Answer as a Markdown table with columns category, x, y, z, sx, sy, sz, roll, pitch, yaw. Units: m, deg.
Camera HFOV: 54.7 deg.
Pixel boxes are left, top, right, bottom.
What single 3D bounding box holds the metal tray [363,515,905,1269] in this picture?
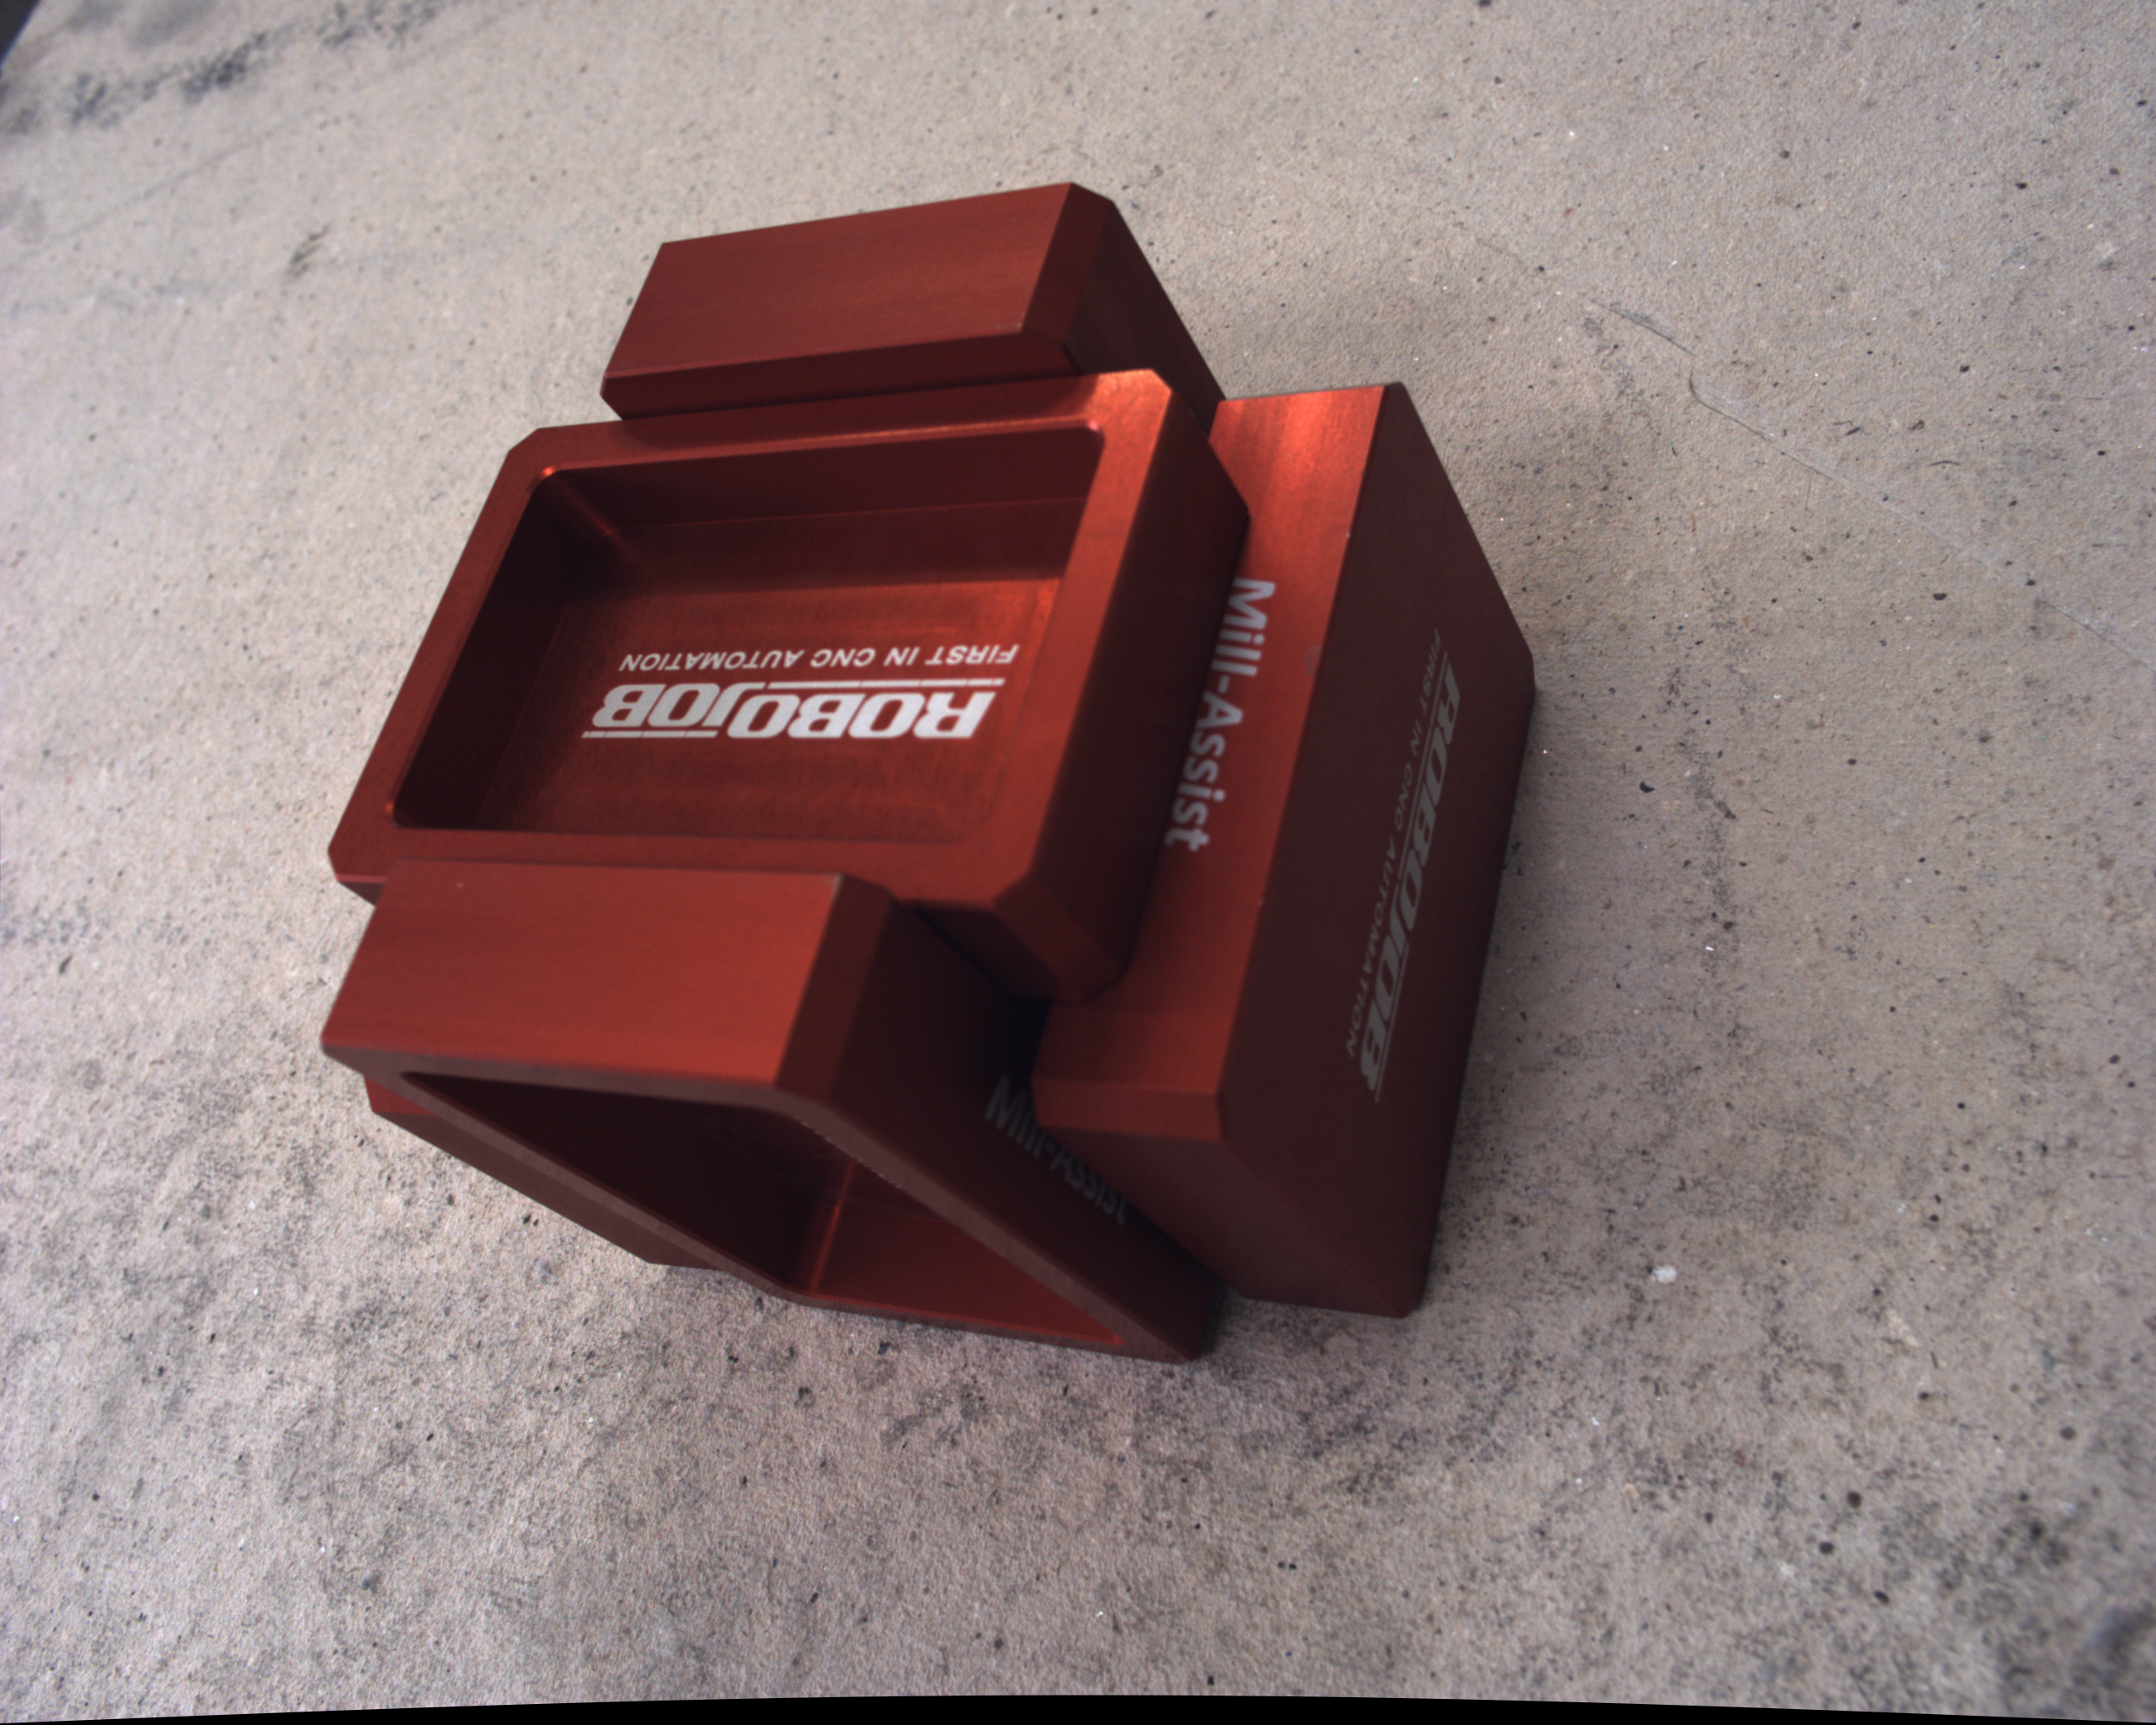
| category | x | y | z | sx | sy | sz | roll | pitch | yaw |
| --- | --- | --- | --- | --- | --- | --- | --- | --- | --- |
| metal tray | -0.075 | 0.003 | 0.401 | 0.030 | 0.090 | 0.130 | 0 | 61 | 28 |

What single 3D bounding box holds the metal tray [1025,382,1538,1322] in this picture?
| category | x | y | z | sx | sy | sz | roll | pitch | yaw |
| --- | --- | --- | --- | --- | --- | --- | --- | --- | --- |
| metal tray | 0.040 | -0.001 | 0.343 | 0.030 | 0.090 | 0.130 | 1 | 61 | 30 |

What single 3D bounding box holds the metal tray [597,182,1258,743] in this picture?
| category | x | y | z | sx | sy | sz | roll | pitch | yaw |
| --- | --- | --- | --- | --- | --- | --- | --- | --- | --- |
| metal tray | -0.013 | -0.062 | 0.382 | 0.090 | 0.130 | 0.030 | 2 | 63 | 29 |

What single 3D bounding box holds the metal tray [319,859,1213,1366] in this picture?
| category | x | y | z | sx | sy | sz | roll | pitch | yaw |
| --- | --- | --- | --- | --- | --- | --- | --- | --- | --- |
| metal tray | -0.041 | 0.043 | 0.333 | 0.090 | 0.130 | 0.030 | 1 | 63 | 29 |

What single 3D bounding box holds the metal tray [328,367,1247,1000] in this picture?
| category | x | y | z | sx | sy | sz | roll | pitch | yaw |
| --- | --- | --- | --- | --- | --- | --- | --- | --- | --- |
| metal tray | -0.047 | -0.028 | 0.328 | 0.130 | 0.030 | 0.090 | 2 | 63 | 29 |
